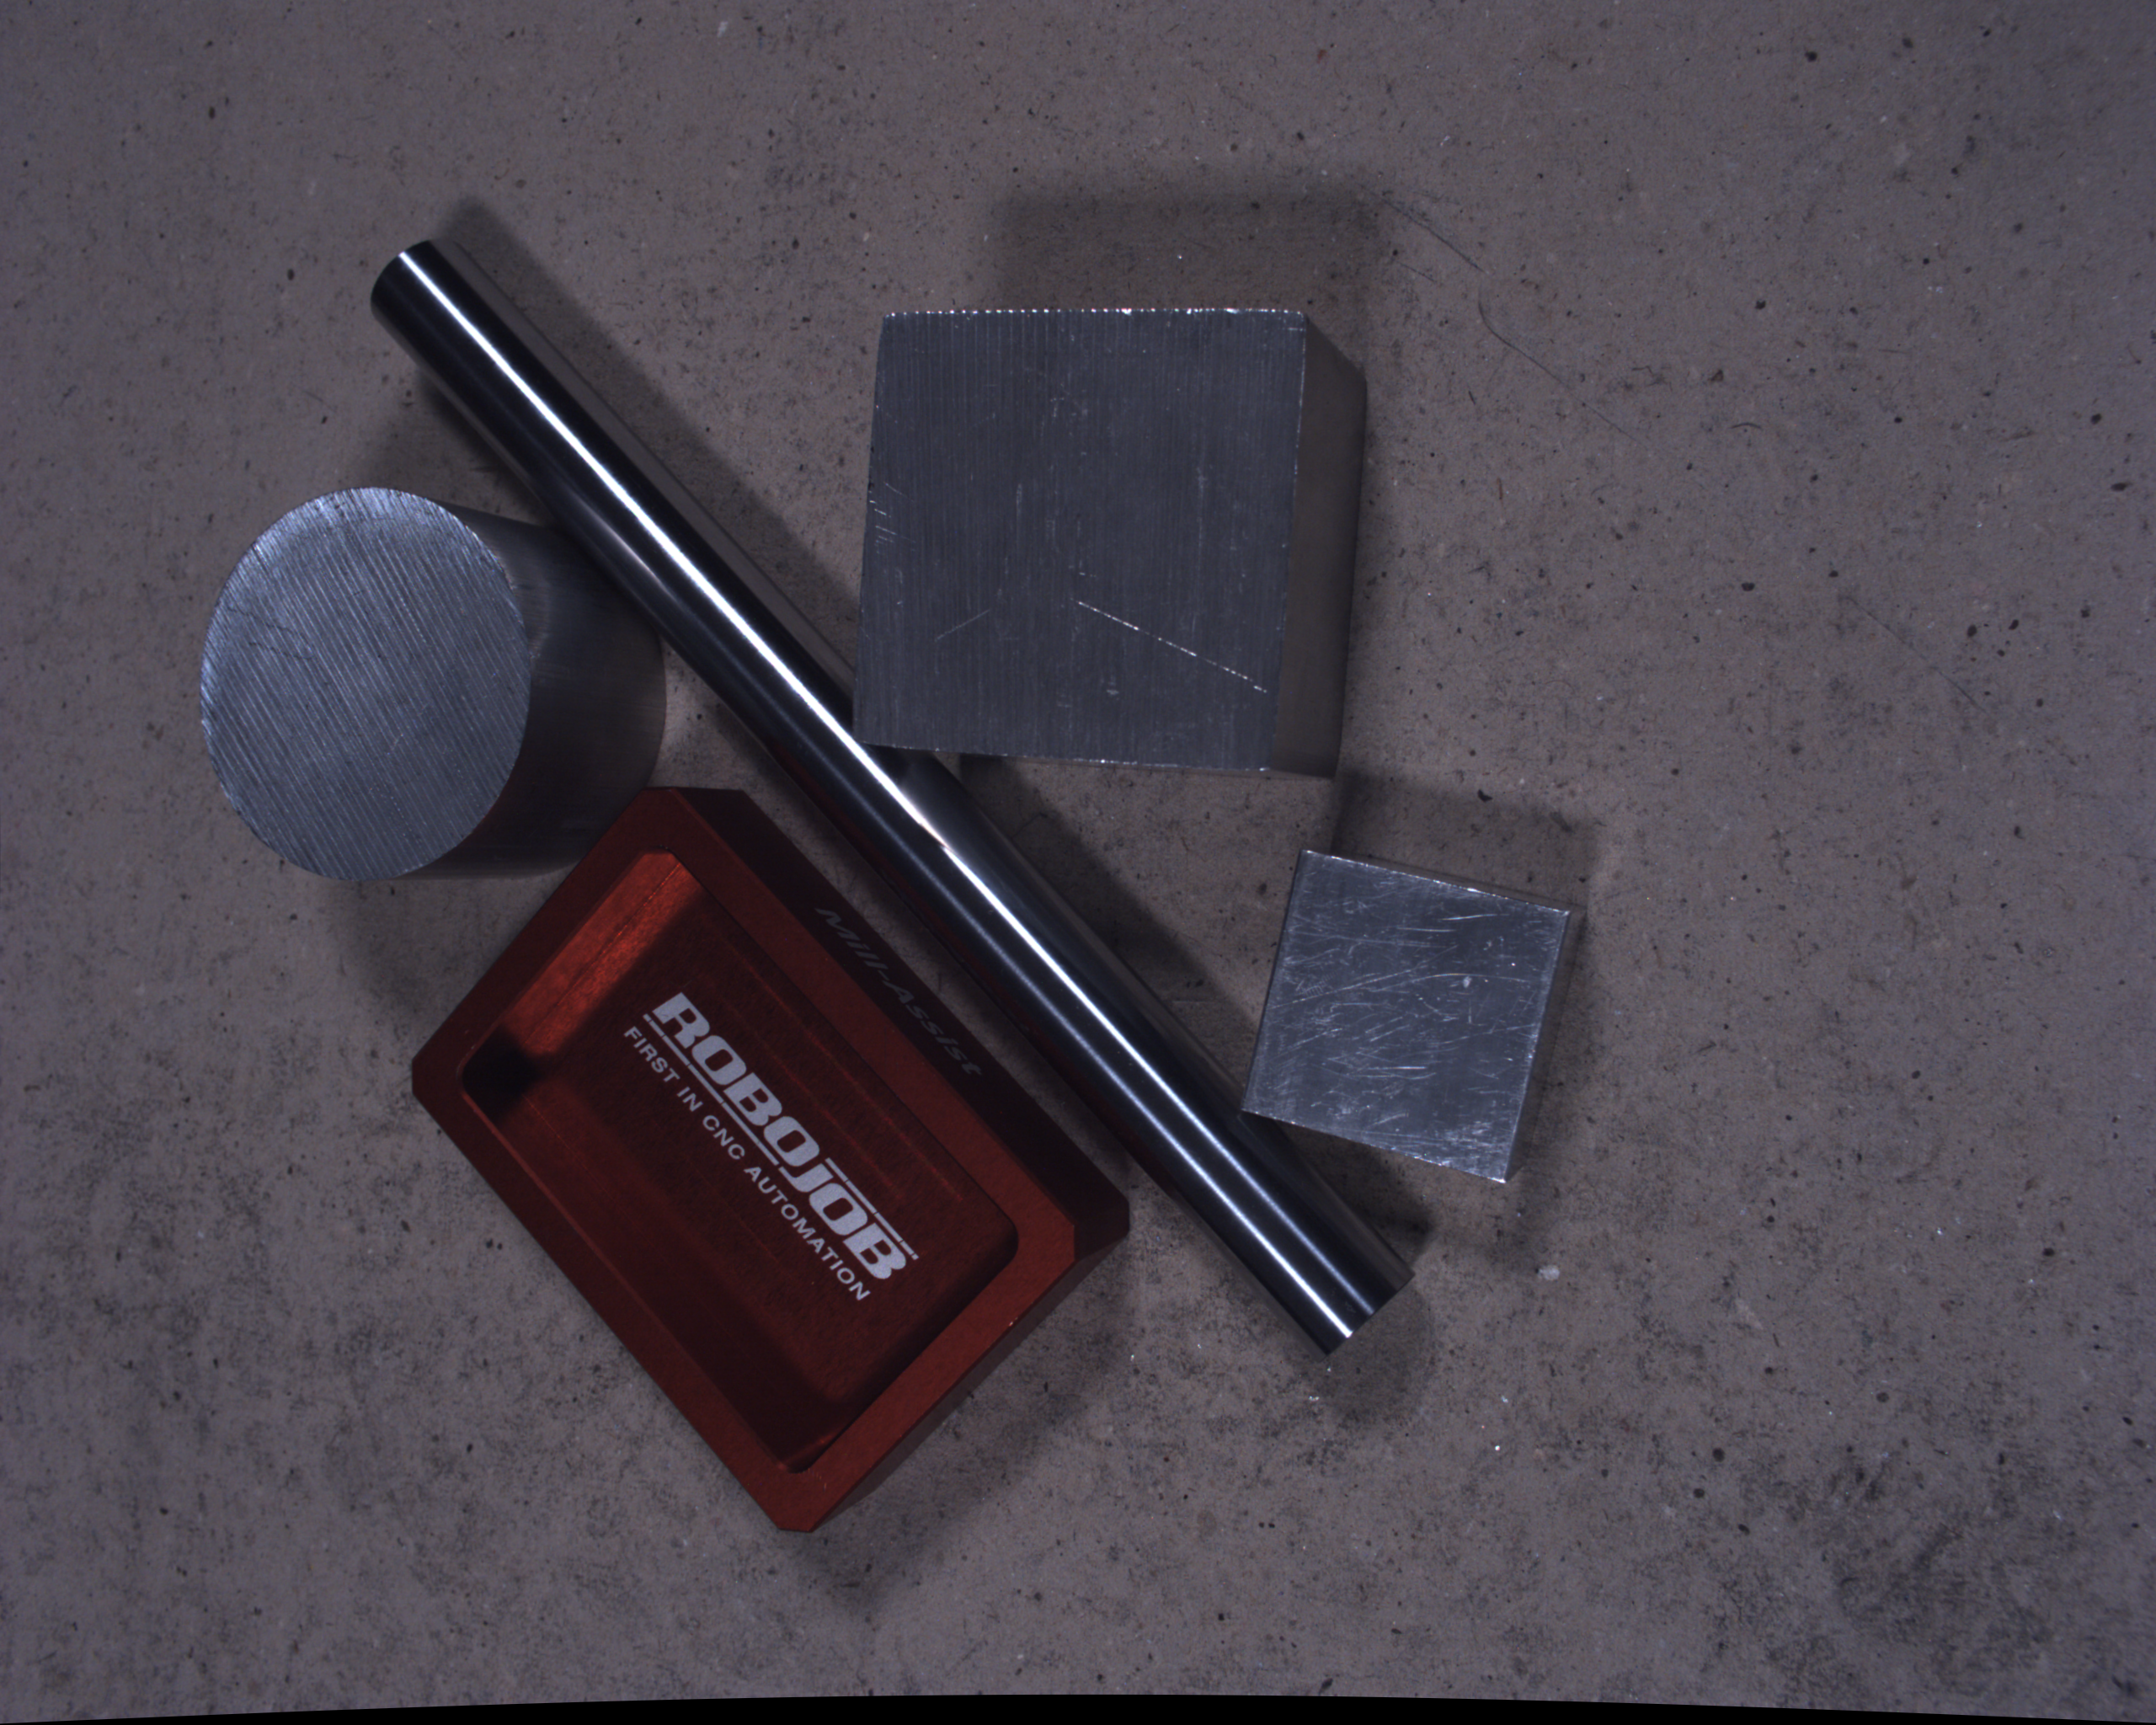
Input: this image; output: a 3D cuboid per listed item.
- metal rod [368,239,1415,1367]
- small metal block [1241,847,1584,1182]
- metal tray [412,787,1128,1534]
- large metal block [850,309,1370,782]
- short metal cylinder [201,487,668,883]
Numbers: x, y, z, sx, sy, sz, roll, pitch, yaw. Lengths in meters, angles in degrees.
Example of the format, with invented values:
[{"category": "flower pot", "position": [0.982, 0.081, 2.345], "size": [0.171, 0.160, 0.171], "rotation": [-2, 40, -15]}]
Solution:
[{"category": "metal rod", "position": [-0.046, -0.021, 0.425], "size": [0.025, 0.025, 0.300], "rotation": [-46, 76, 14]}, {"category": "small metal block", "position": [0.063, 0.027, 0.388], "size": [0.050, 0.025, 0.050], "rotation": [14, 95, 19]}, {"category": "metal tray", "position": [-0.065, 0.058, 0.429], "size": [0.130, 0.030, 0.090], "rotation": [46, 104, 14]}, {"category": "large metal block", "position": [0.007, -0.058, 0.394], "size": [0.080, 0.050, 0.079], "rotation": [5, 92, 19]}, {"category": "short metal cylinder", "position": [-0.136, -0.036, 0.443], "size": [0.080, 0.050, 0.079], "rotation": [0, 90, 19]}]
